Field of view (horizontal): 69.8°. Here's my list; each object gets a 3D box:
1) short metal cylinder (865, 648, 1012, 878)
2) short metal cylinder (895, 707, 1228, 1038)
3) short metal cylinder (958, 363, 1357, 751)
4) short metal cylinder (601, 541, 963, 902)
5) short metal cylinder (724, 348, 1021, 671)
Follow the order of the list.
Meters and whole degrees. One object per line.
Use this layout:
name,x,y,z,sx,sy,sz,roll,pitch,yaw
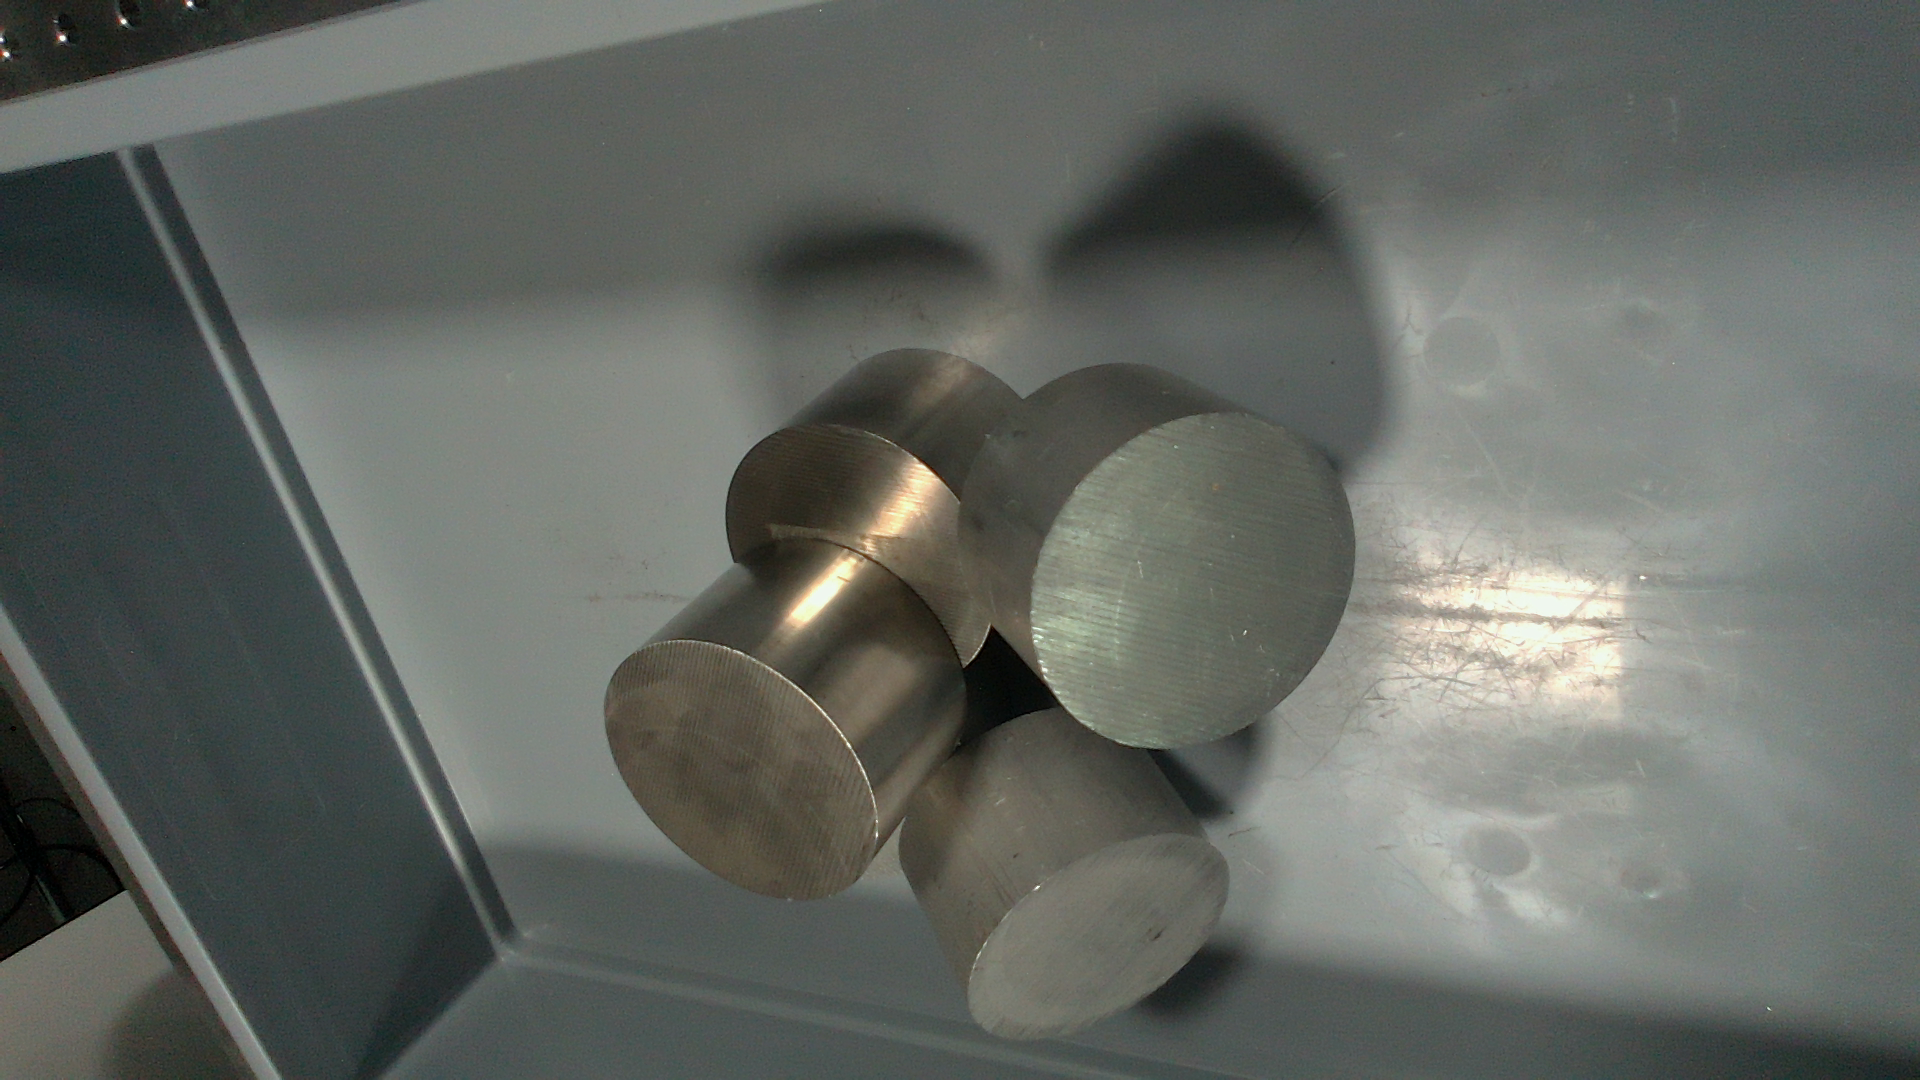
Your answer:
short metal cylinder,-0.030,0.057,0.428,0.080,0.050,0.080,13,124,21
short metal cylinder,0.028,0.094,0.390,0.050,0.080,0.080,-125,36,-45
short metal cylinder,0.045,0.002,0.326,0.080,0.050,0.080,-6,111,-17
short metal cylinder,-0.046,0.047,0.363,0.080,0.050,0.080,13,124,21
short metal cylinder,-0.017,-0.006,0.380,0.080,0.050,0.080,13,124,21
